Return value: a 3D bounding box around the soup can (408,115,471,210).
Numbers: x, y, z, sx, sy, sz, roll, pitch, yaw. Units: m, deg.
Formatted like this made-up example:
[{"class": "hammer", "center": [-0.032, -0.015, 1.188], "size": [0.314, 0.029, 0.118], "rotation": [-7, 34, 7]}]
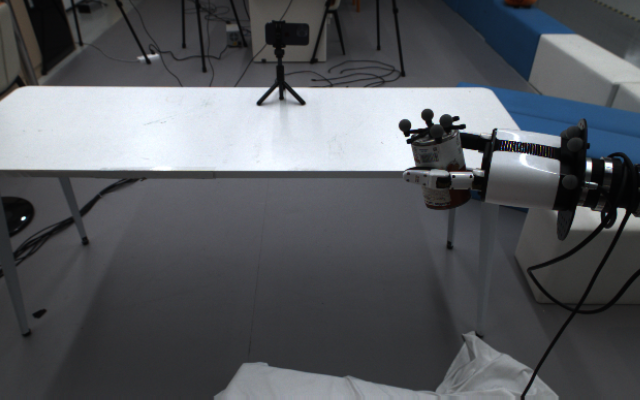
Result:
[{"class": "soup can", "center": [0.171, -0.047, 0.678], "size": [0.067, 0.101, 0.067], "rotation": [-16, 23, 7]}]
